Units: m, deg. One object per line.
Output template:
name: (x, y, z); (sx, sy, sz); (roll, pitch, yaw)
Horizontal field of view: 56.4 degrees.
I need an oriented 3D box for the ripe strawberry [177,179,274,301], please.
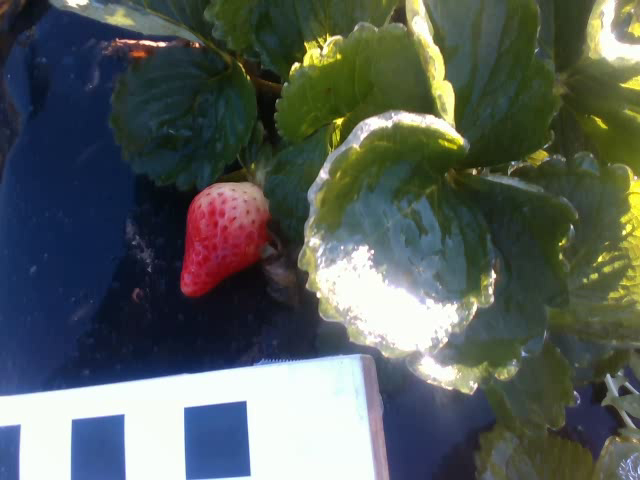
ripe strawberry: (-0.052, -0.003, 0.270); (0.040, 0.065, 0.040); (33, 0, 20)
